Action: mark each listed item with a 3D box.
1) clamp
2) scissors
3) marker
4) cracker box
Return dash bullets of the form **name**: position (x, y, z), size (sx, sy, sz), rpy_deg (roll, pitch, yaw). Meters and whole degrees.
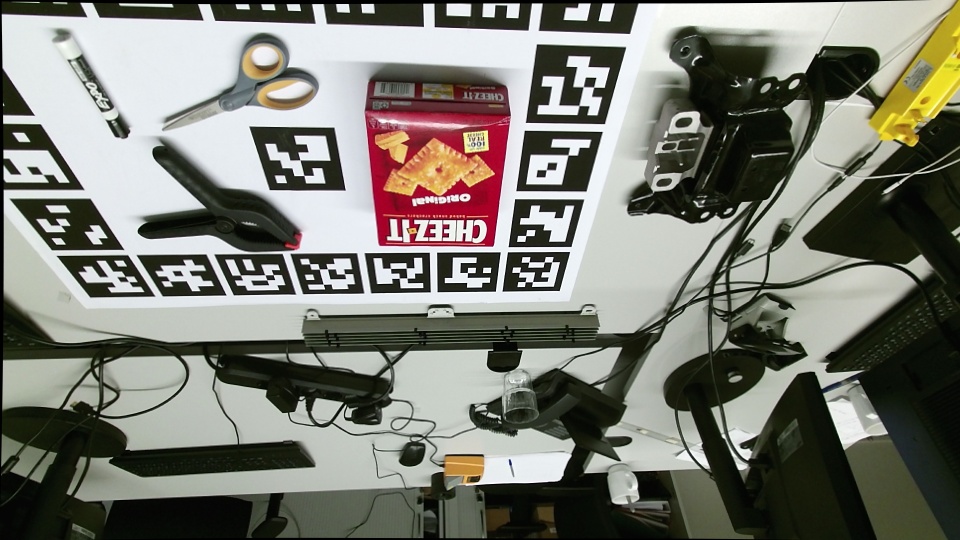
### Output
- **clamp**: position (-0.345, -0.074, 0.756), size (0.203, 0.036, 0.165), rpy_deg (21, 134, -27)
- **scissors**: position (-0.283, -0.195, 0.616), size (0.203, 0.016, 0.088), rpy_deg (-19, 139, 18)
- **marker**: position (-0.426, -0.195, 0.599), size (0.020, 0.019, 0.121), rpy_deg (-3, 140, -3)
- **cracker box**: position (-0.054, -0.126, 0.682), size (0.165, 0.071, 0.214), rpy_deg (0, 139, -6)
